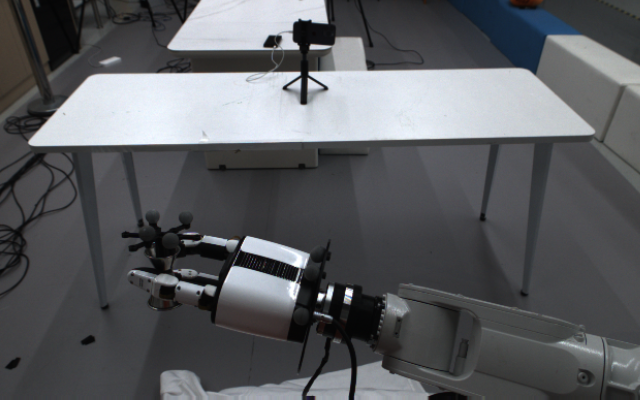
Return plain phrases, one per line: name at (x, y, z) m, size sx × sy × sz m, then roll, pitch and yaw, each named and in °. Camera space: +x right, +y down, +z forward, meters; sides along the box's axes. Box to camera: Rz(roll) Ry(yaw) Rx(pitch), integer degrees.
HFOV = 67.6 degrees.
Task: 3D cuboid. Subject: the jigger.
jigger at (-0.182, 0.088, 0.573) m, size 0.043 × 0.071 × 0.043 m, roll 2°, pitch 20°, yaw -1°
